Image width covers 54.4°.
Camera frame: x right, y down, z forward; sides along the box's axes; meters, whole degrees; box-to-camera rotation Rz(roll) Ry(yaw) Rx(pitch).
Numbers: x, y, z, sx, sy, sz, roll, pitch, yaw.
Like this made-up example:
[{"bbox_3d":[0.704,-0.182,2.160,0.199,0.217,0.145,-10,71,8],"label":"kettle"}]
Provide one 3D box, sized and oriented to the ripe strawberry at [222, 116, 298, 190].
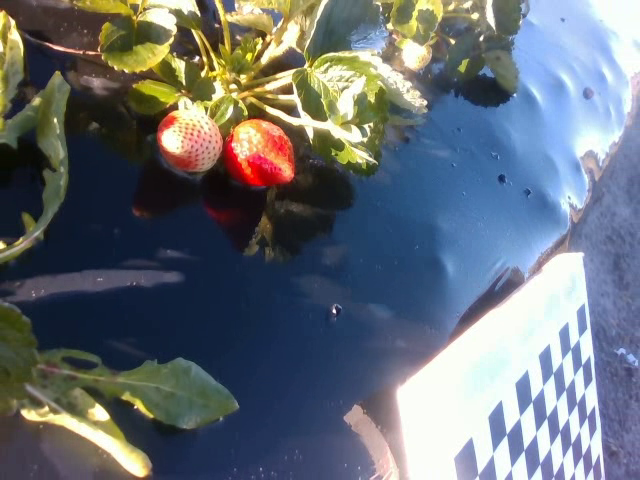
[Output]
[{"bbox_3d":[-0.023,-0.042,0.305,0.040,0.038,0.055,-31,27,-19],"label":"ripe strawberry"}]
